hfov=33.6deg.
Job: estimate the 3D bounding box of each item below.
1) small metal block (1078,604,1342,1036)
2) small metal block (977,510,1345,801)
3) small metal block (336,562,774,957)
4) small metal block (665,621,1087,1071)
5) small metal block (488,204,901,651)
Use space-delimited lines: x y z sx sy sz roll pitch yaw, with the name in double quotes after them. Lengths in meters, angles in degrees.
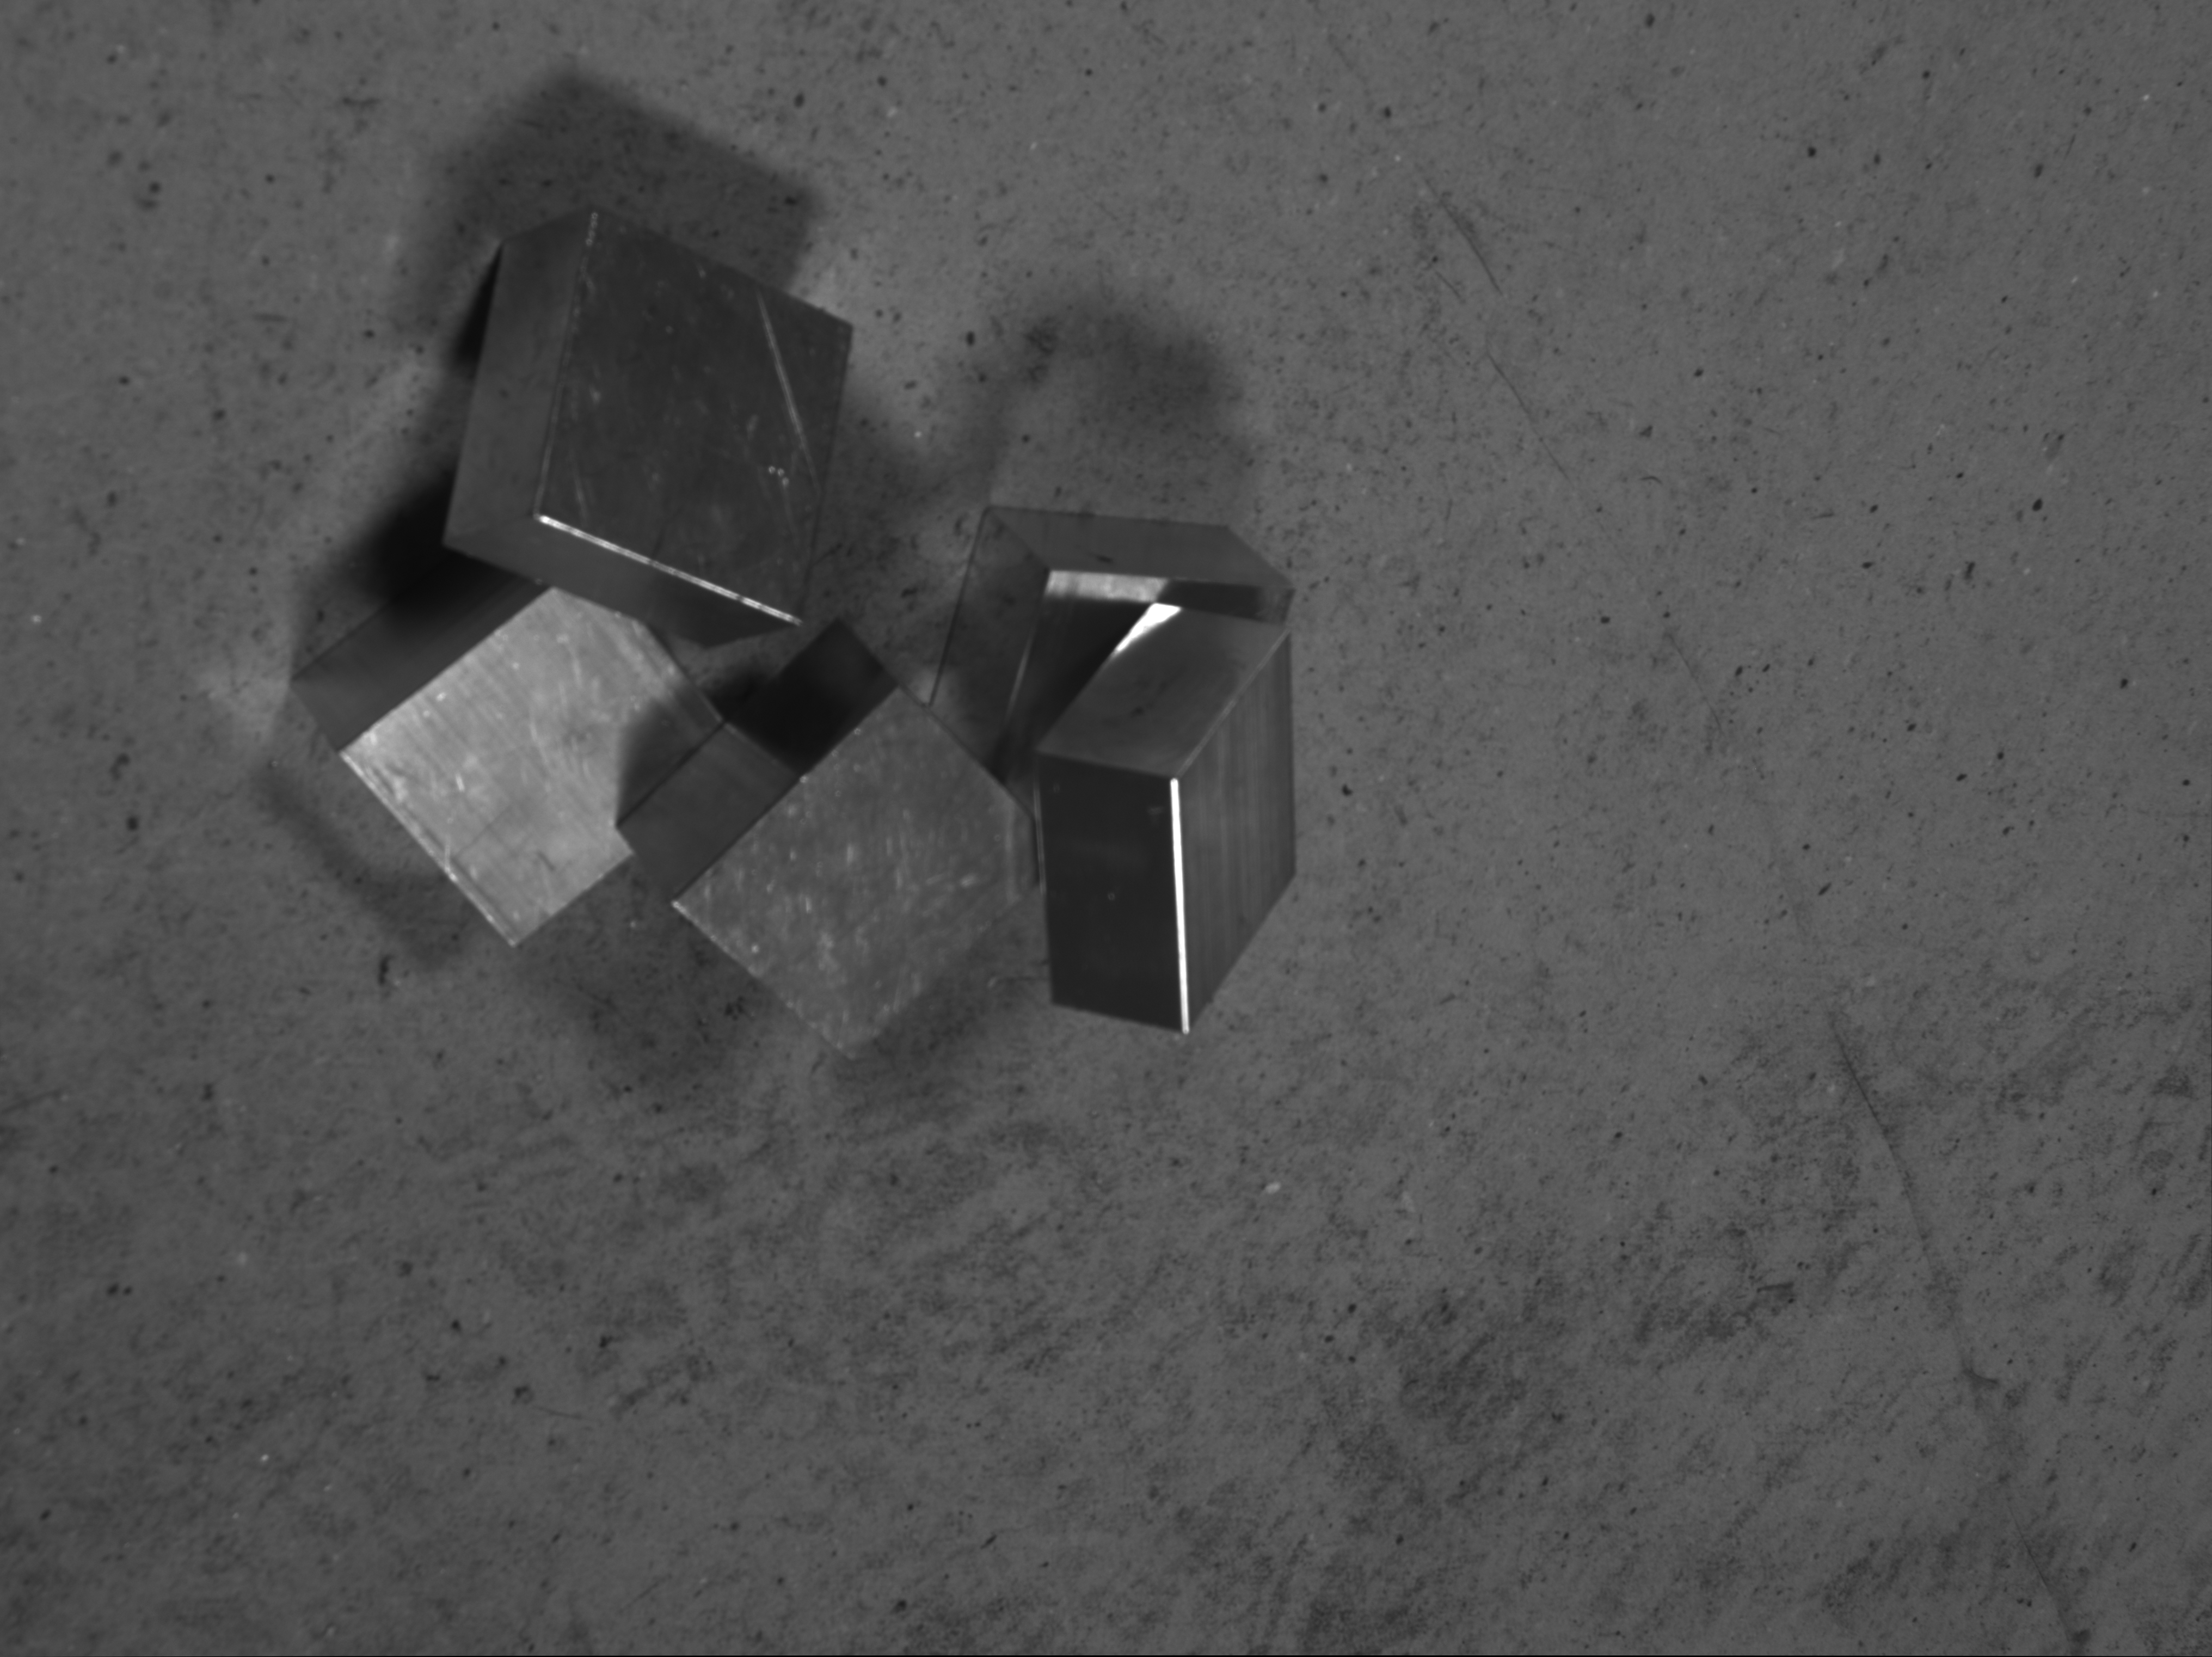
0.018 -0.002 0.611 0.050 0.025 0.050 -52 146 -49 "small metal block"
0.008 -0.026 0.640 0.050 0.025 0.050 2 117 -31 "small metal block"
-0.086 -0.016 0.590 0.050 0.025 0.050 -38 130 -4 "small metal block"
-0.034 0.003 0.599 0.050 0.025 0.050 -44 130 1 "small metal block"
-0.062 -0.060 0.562 0.050 0.025 0.050 21 70 -37 "small metal block"
